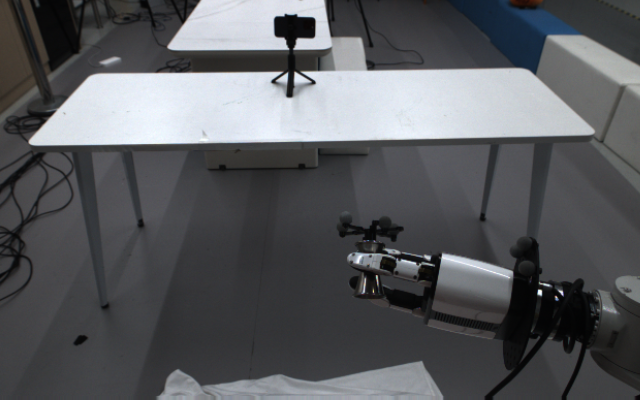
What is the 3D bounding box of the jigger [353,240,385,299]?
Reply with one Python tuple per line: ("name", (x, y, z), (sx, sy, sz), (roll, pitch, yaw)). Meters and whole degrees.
("jigger", (0.063, 0.088, 0.616), (0.043, 0.043, 0.071), (3, 72, 1))
